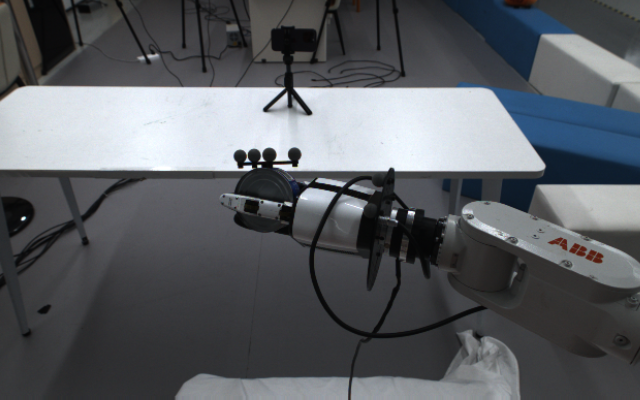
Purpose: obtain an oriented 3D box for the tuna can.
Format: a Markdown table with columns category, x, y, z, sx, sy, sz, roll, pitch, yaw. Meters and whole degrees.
| category | x | y | z | sx | sy | sz | roll | pitch | yaw |
| --- | --- | --- | --- | --- | --- | --- | --- | --- | --- |
| tuna can | -0.068 | -0.001 | 0.647 | 0.085 | 0.085 | 0.034 | 15 | 9 | 18 |
